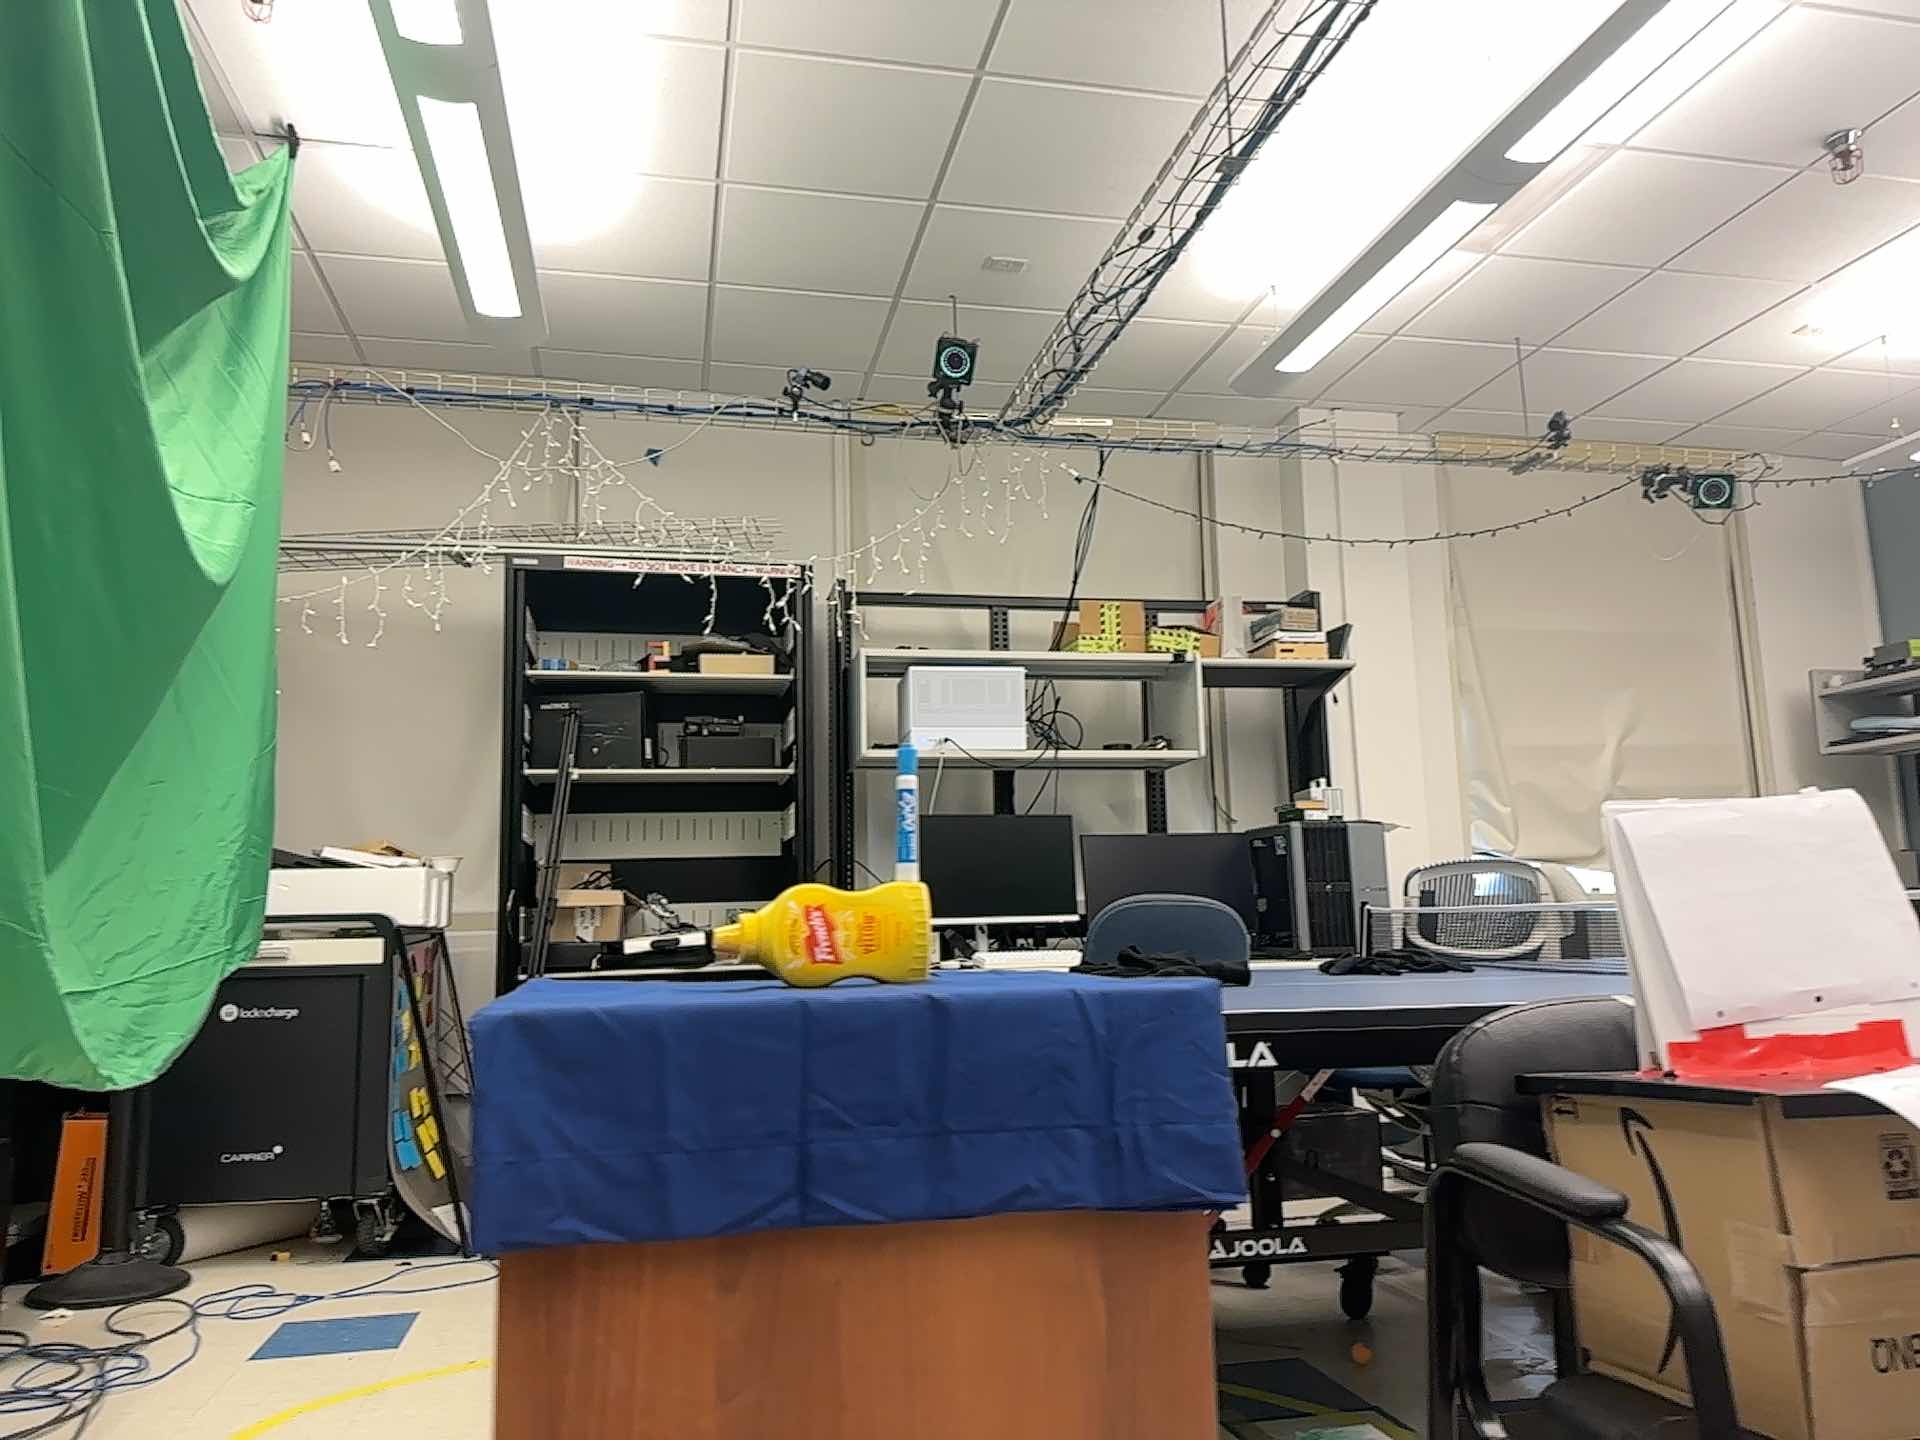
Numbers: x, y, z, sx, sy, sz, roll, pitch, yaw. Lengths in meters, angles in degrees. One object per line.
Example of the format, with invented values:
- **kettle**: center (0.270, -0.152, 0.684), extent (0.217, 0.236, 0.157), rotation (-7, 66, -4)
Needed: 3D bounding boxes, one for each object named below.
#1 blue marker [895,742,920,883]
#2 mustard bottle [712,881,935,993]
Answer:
- **blue marker**: center (-0.046, 0.079, 1.166), extent (0.020, 0.121, 0.020), rotation (-2, -10, 0)
- **mustard bottle**: center (-0.116, 0.182, 1.128), extent (0.184, 0.092, 0.054), rotation (2, -2, -18)
